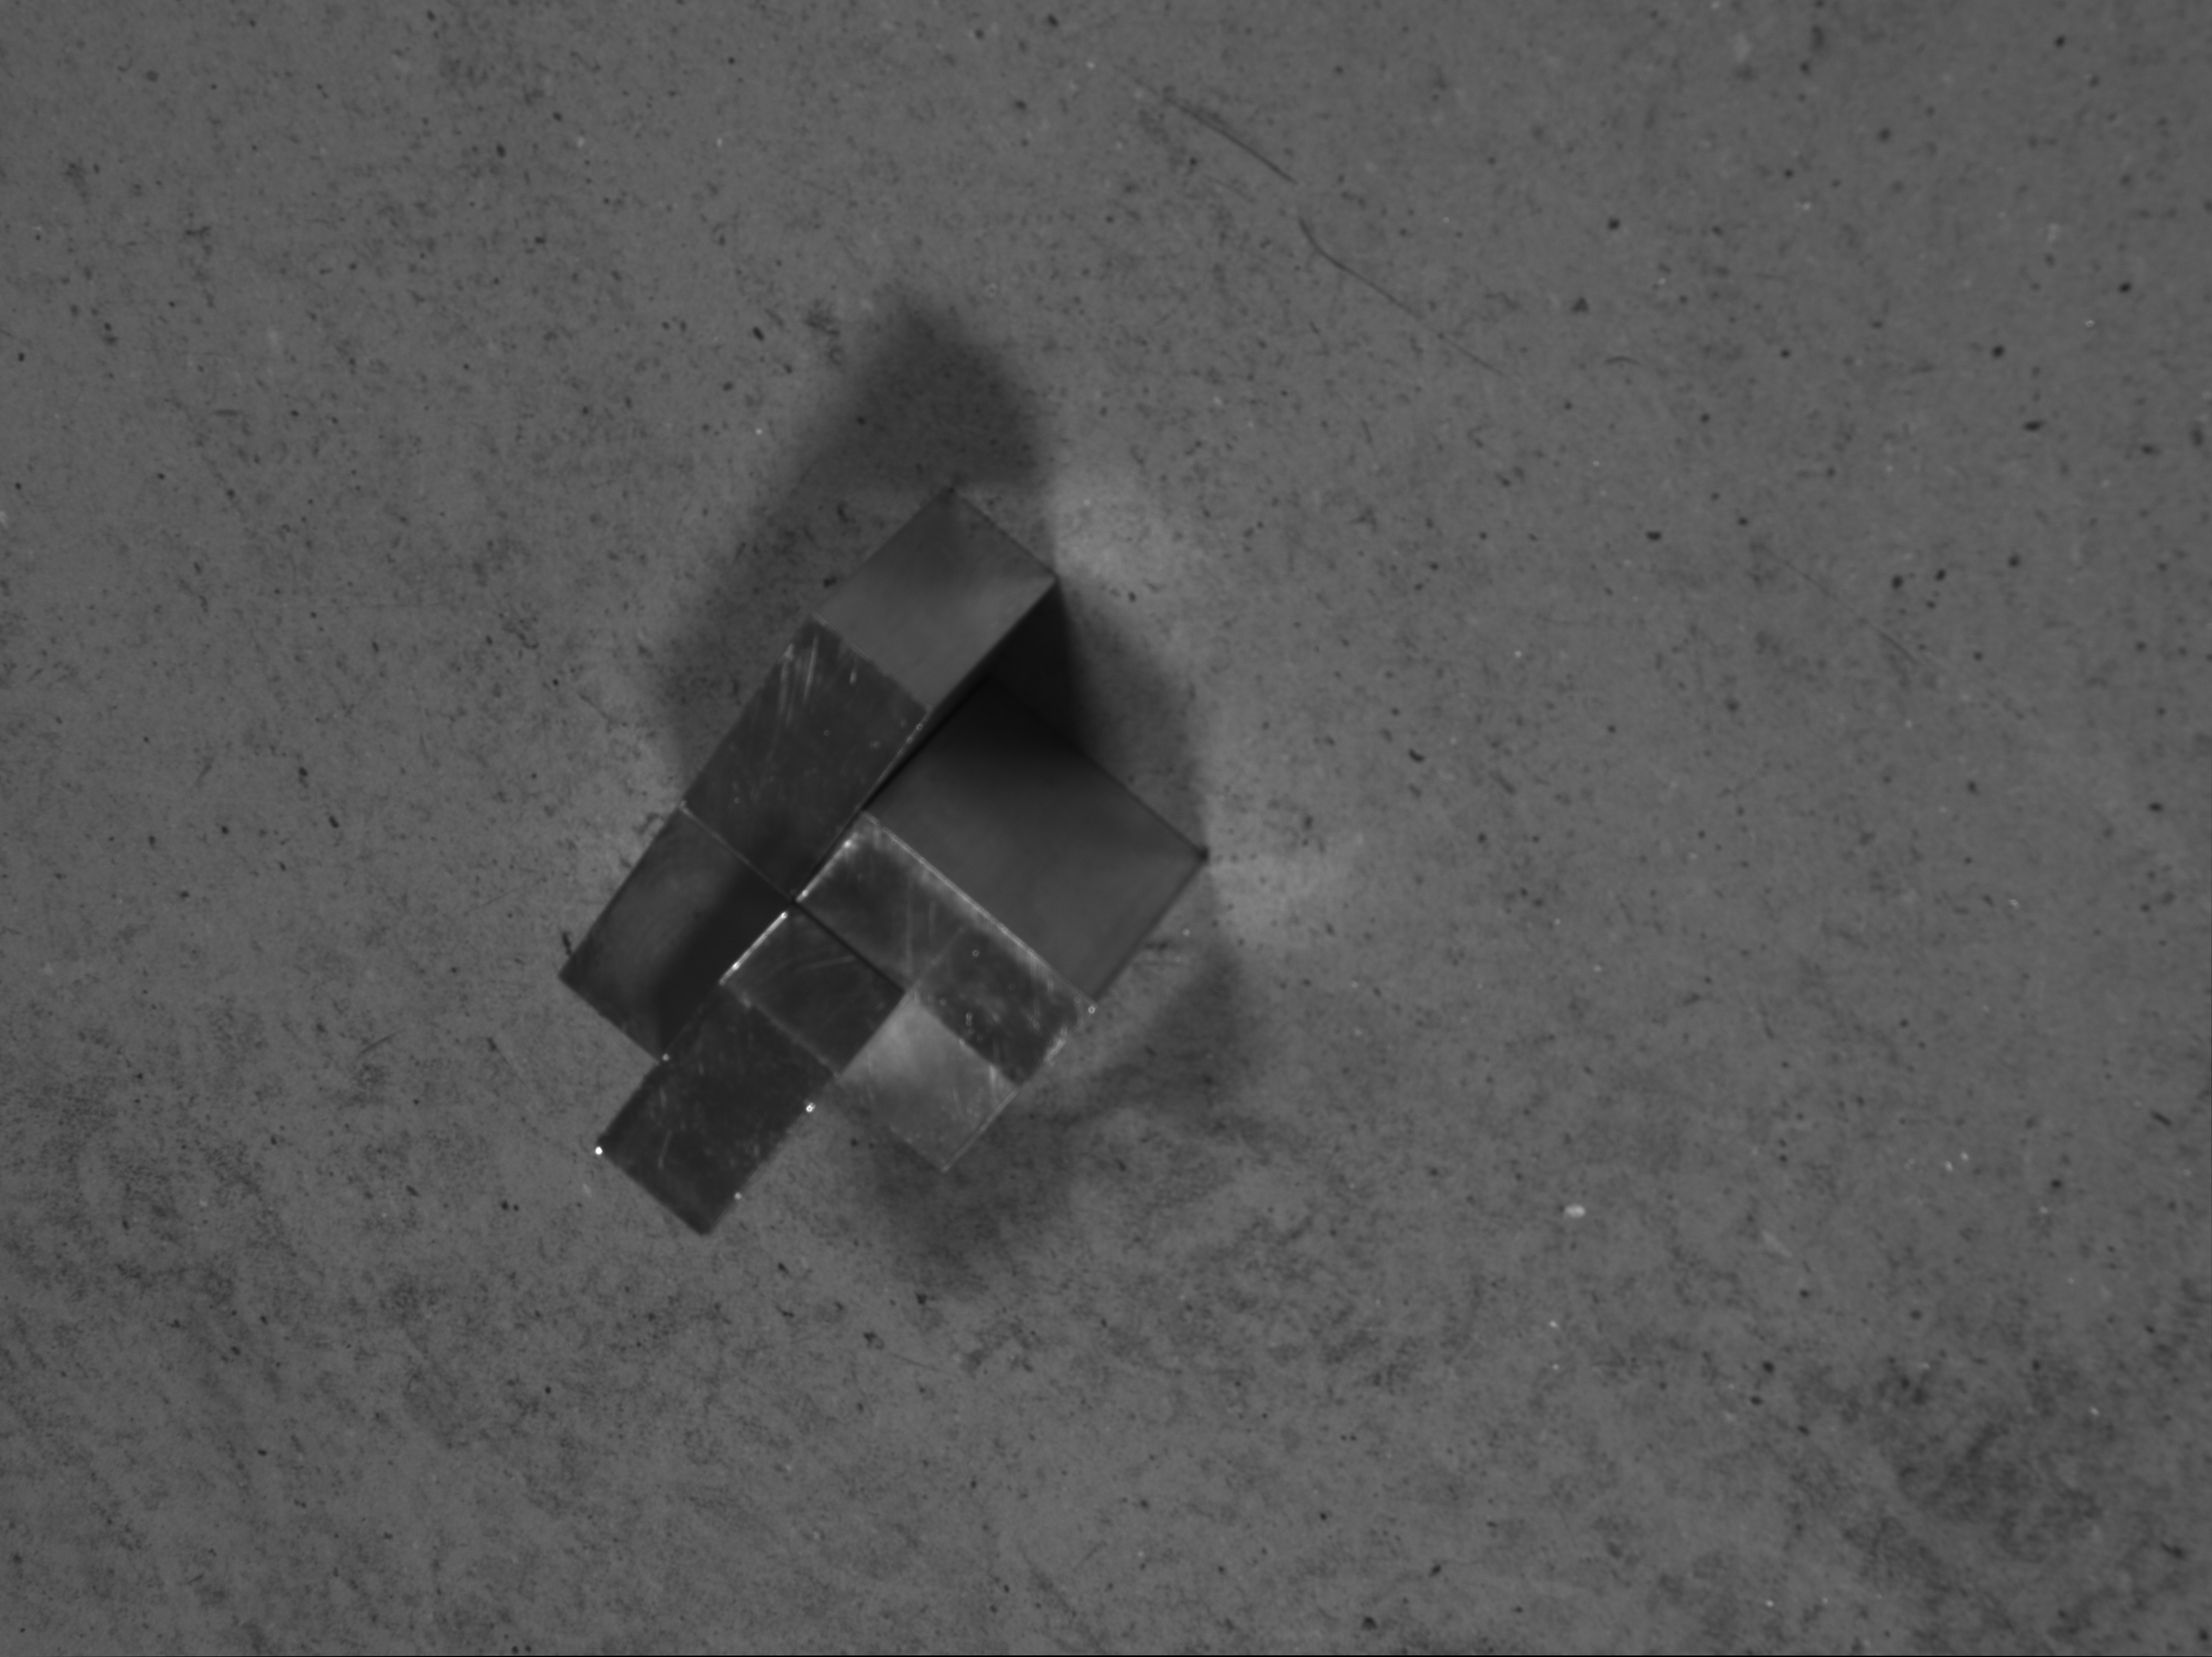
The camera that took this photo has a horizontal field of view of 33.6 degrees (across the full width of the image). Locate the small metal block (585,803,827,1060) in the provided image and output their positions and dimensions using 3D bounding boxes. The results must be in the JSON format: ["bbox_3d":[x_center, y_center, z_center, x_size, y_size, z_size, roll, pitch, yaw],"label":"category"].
[{"bbox_3d":[-0.060,0.008,0.650,0.025,0.050,0.050,39,128,0],"label":"small metal block"}]

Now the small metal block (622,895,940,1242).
[{"bbox_3d":[-0.051,0.036,0.630,0.025,0.050,0.050,39,128,0],"label":"small metal block"}]

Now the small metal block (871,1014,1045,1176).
[{"bbox_3d":[-0.025,0.026,0.660,0.050,0.025,0.050,40,128,0],"label":"small metal block"}]

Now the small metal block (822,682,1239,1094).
[{"bbox_3d":[-0.012,0.009,0.627,0.050,0.050,0.025,40,128,0],"label":"small metal block"}]

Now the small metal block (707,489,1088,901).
[{"bbox_3d":[-0.035,-0.023,0.619,0.025,0.050,0.050,39,128,0],"label":"small metal block"}]
